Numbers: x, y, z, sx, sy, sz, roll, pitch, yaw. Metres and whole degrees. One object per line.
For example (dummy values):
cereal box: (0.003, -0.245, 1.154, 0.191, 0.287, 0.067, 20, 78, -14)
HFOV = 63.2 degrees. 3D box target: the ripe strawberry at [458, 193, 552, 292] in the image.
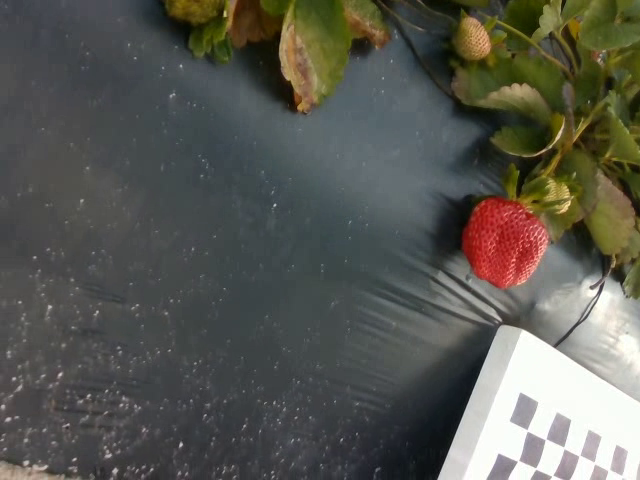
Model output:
ripe strawberry: (0.132, 0.002, 0.370, 0.067, 0.075, 0.039, 34, -14, -23)
